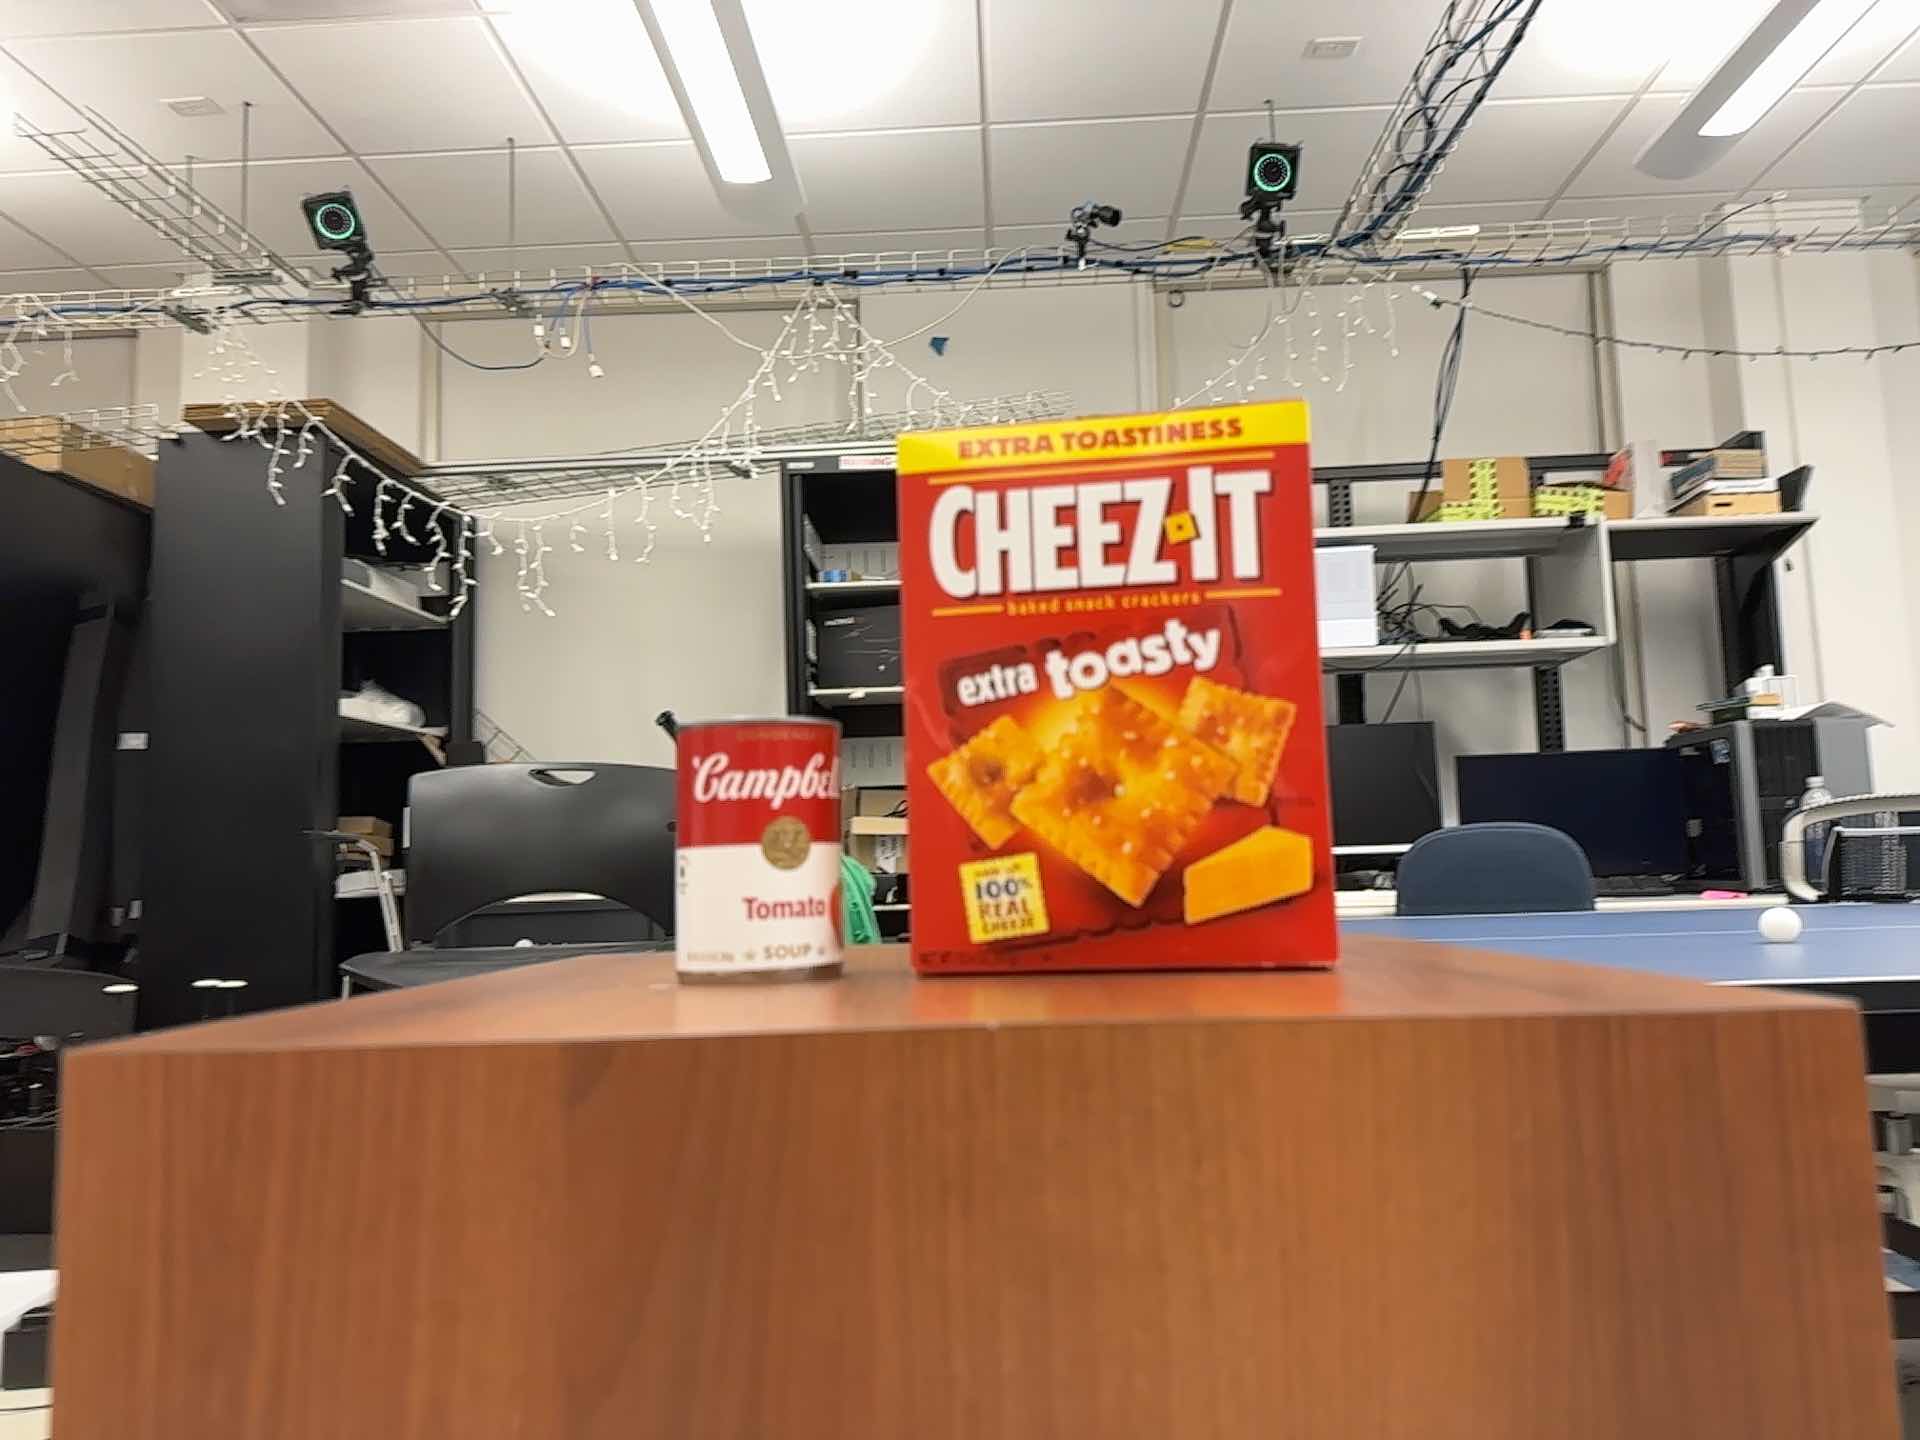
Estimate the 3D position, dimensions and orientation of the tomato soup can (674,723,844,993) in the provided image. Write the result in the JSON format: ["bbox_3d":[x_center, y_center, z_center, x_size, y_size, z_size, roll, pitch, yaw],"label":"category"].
[{"bbox_3d":[-0.080,0.056,0.535,0.067,0.102,0.067,-1,-9,0],"label":"tomato soup can"}]

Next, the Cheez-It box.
[{"bbox_3d":[0.062,-0.006,0.540,0.159,0.214,0.062,-2,-8,6],"label":"Cheez-It box"}]
